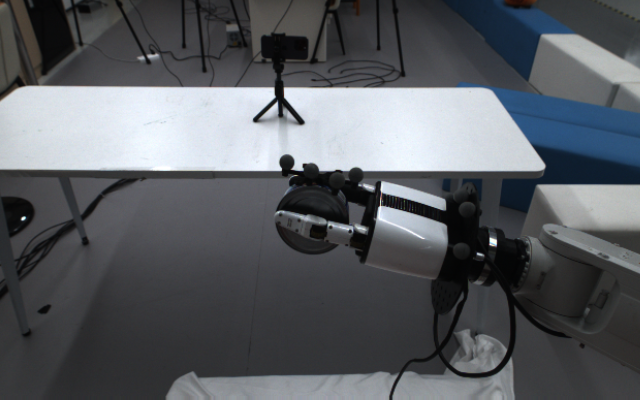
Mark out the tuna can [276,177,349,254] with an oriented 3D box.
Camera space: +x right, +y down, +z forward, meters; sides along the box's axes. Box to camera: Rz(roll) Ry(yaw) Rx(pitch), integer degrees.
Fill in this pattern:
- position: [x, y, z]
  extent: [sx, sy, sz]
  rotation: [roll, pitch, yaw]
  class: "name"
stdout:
- position: [-0.006, 0.018, 0.569]
  extent: [0.085, 0.085, 0.034]
  rotation: [5, 18, 4]
  class: "tuna can"
